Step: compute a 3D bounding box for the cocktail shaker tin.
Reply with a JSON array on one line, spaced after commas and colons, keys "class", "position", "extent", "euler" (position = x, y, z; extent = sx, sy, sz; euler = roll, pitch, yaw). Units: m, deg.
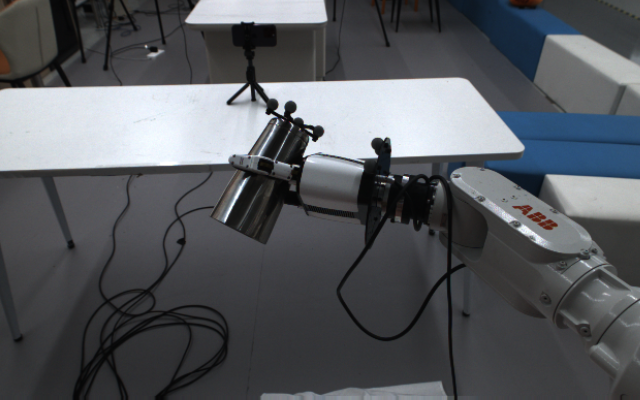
[{"class": "cocktail shaker tin", "position": [-0.081, -0.034, 0.710], "extent": [0.093, 0.093, 0.170], "euler": [21, 81, 25]}]
